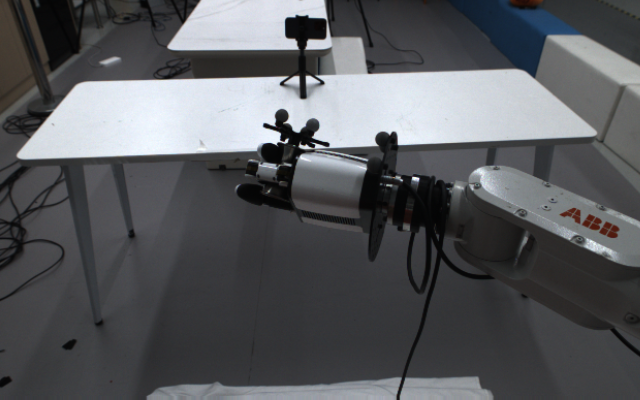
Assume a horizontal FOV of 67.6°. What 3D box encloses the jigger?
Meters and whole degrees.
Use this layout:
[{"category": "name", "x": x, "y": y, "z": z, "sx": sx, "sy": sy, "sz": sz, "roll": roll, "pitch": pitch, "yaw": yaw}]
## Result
[{"category": "jigger", "x": -0.045, "y": -0.035, "z": 0.616, "sx": 0.043, "sy": 0.071, "sz": 0.043, "roll": 18, "pitch": -6, "yaw": 2}]
